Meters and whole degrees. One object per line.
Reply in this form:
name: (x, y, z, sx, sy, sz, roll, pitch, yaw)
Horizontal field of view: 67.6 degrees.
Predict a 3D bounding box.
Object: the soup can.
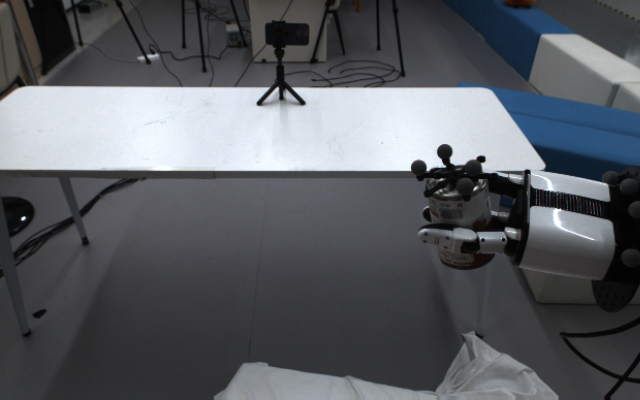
soup can: (0.164, 0.019, 0.555, 0.067, 0.101, 0.067, -13, 31, 8)
